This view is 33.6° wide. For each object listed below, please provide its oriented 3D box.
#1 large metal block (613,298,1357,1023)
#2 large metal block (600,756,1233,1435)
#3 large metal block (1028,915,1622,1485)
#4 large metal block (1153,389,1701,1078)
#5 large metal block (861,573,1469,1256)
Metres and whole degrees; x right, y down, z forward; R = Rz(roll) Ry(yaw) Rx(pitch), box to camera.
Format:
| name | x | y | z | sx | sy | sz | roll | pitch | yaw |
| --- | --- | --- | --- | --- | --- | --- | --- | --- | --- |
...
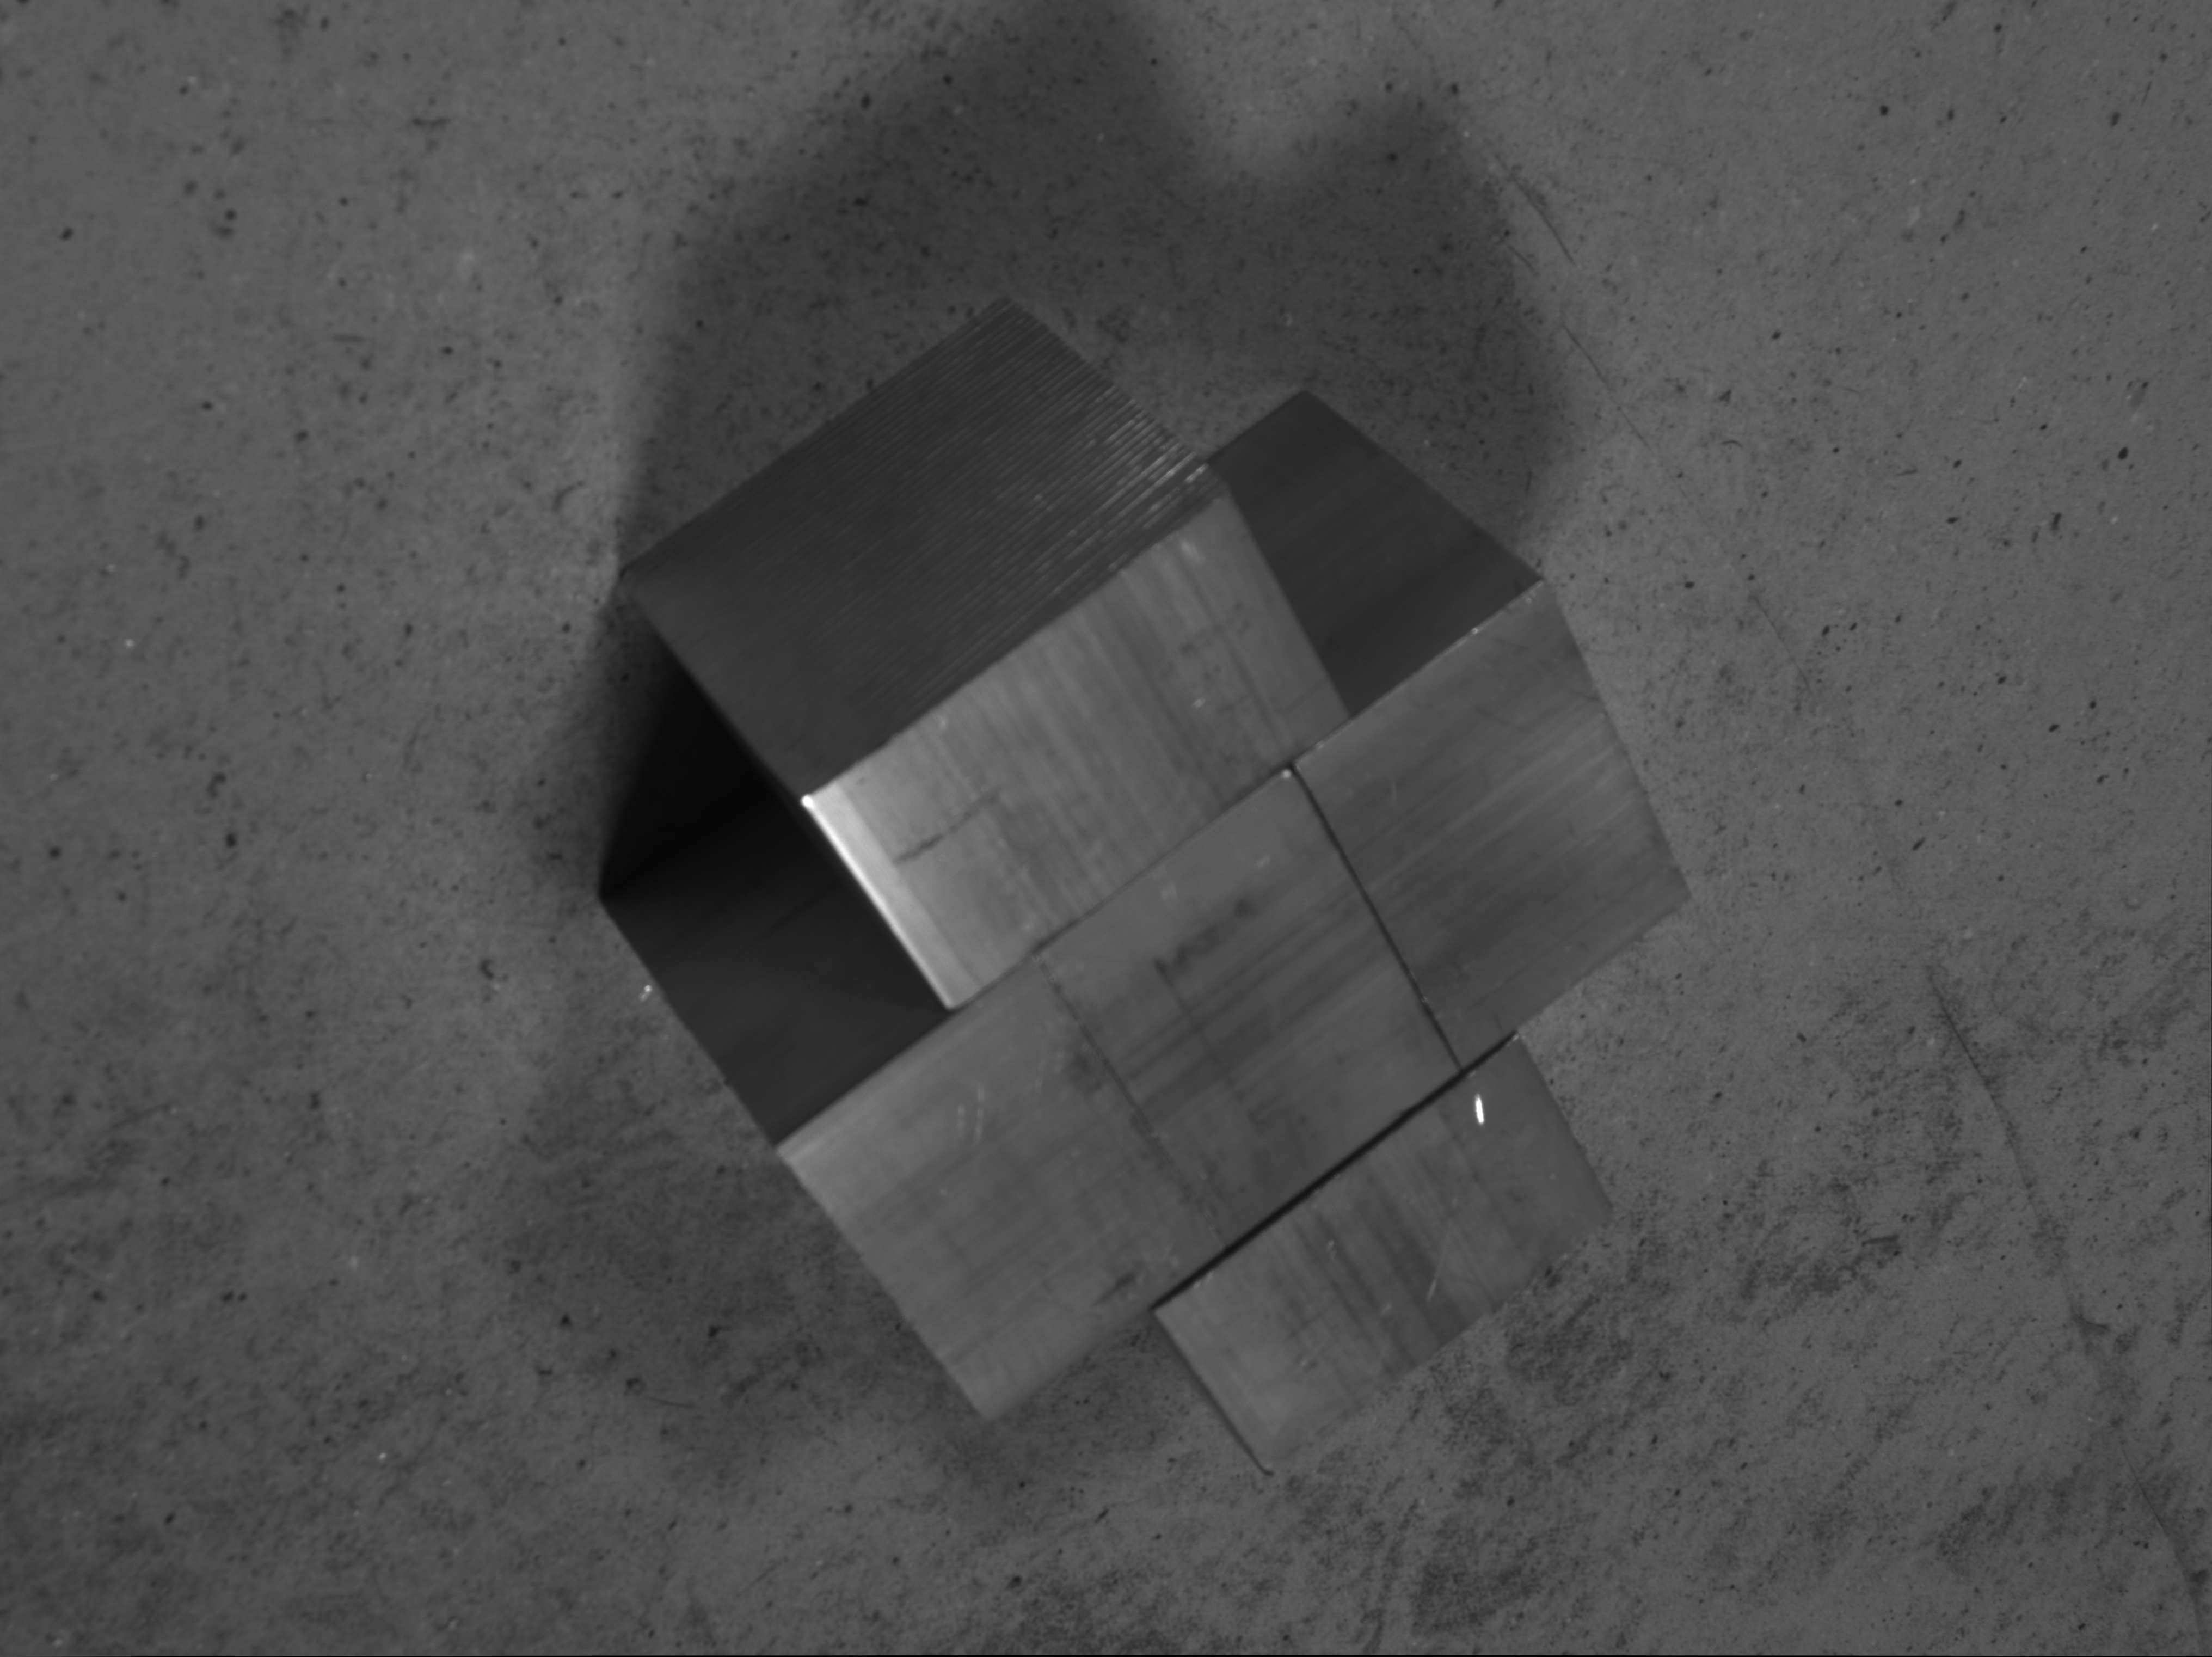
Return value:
| name | x | y | z | sx | sy | sz | roll | pitch | yaw |
| --- | --- | --- | --- | --- | --- | --- | --- | --- | --- |
| large metal block | -0.020 | -0.029 | 0.586 | 0.080 | 0.080 | 0.050 | -36 | 130 | -6 |
| large metal block | -0.032 | 0.042 | 0.623 | 0.050 | 0.080 | 0.080 | -36 | 130 | -6 |
| large metal block | 0.033 | 0.058 | 0.671 | 0.080 | 0.080 | 0.050 | -36 | 130 | -6 |
| large metal block | 0.049 | -0.017 | 0.633 | 0.050 | 0.080 | 0.080 | -36 | 130 | -6 |
| large metal block | 0.008 | 0.013 | 0.628 | 0.050 | 0.080 | 0.080 | -36 | 130 | -6 |
